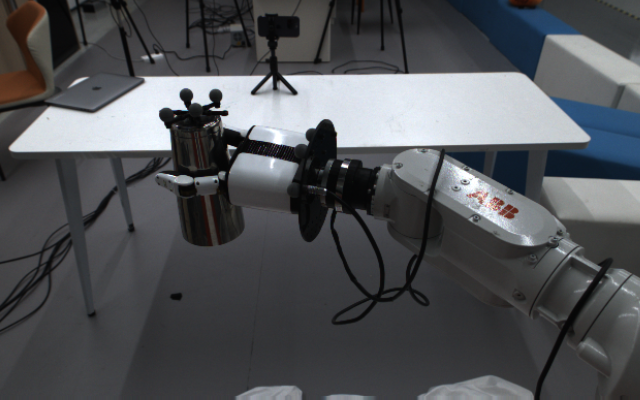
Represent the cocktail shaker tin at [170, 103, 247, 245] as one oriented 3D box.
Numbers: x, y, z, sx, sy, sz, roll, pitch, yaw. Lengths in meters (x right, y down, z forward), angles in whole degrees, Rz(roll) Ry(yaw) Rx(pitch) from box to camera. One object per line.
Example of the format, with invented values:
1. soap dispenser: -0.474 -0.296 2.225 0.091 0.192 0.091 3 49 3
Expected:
1. cocktail shaker tin: -0.156 -0.032 0.663 0.093 0.170 0.093 -1 32 1
